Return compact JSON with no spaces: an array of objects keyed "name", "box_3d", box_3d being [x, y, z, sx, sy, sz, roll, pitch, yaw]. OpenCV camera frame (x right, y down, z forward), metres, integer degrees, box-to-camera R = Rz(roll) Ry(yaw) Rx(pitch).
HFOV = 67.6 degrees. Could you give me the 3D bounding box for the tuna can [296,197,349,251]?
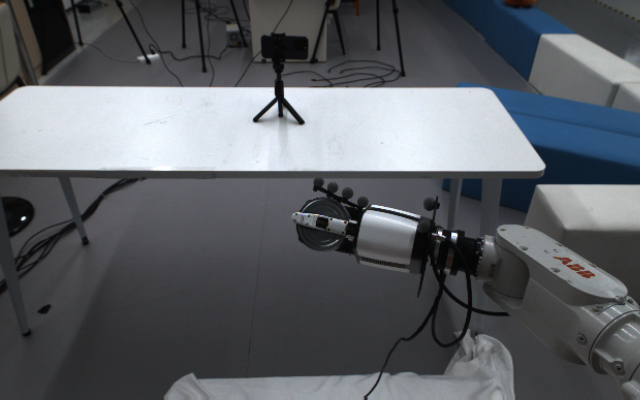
[{"name":"tuna can","box_3d":[0.009,0.038,0.769,0.085,0.085,0.034,13,-6,16]}]
